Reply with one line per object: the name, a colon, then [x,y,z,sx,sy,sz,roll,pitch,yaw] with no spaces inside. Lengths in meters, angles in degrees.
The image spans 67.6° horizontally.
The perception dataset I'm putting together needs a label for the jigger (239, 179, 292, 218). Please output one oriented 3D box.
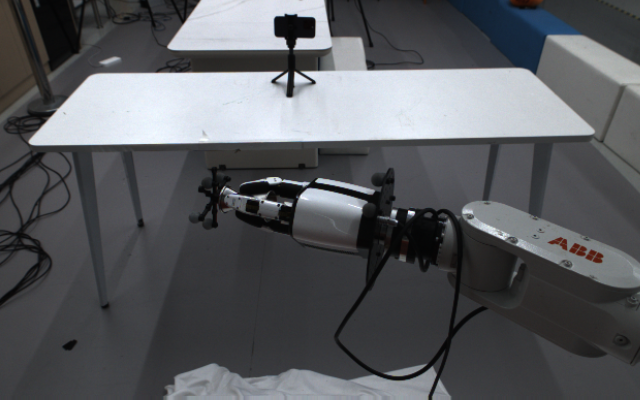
jigger: [-0.093,0.000,0.661,0.071,0.043,0.043,8,35,16]
